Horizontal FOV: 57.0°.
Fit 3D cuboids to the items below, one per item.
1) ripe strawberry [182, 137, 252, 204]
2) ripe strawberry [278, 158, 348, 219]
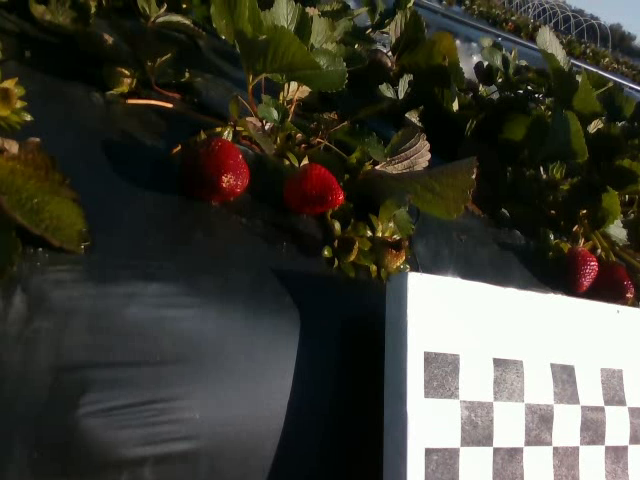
[{"bbox_3d":[-0.062,-0.040,0.351,0.050,0.045,0.050,29,2,-24],"label":"ripe strawberry"},{"bbox_3d":[-0.001,-0.032,0.390,0.042,0.039,0.049,-39,39,-26],"label":"ripe strawberry"}]
